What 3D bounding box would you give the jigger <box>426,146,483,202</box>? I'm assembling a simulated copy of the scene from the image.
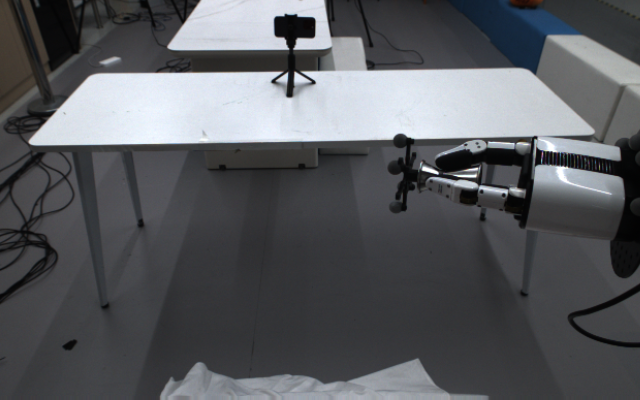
[{"bbox_3d":[0.158,-0.027,0.566,0.071,0.043,0.043,7,34,21],"label":"jigger"}]
